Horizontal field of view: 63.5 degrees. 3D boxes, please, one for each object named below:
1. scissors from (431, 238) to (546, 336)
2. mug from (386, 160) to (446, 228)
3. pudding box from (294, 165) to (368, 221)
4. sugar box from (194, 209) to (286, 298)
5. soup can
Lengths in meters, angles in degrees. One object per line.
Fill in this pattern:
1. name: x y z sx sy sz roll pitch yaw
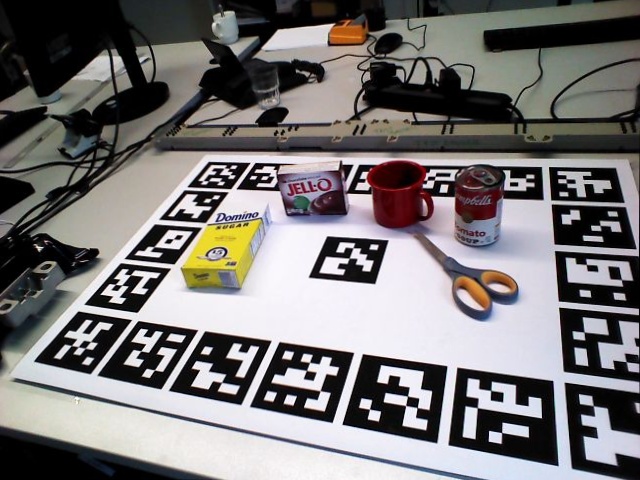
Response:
1. scissors: 0.217 0.048 0.718 0.087 0.016 0.203 -31 42 -7
2. mug: 0.163 -0.067 0.826 0.093 0.081 0.117 -22 38 -7
3. pudding box: 0.020 -0.080 0.871 0.114 0.090 0.038 -3 46 12
4. sugar box: -0.125 0.017 0.840 0.093 0.045 0.175 0 41 19
5. soup can: 0.260 -0.038 0.757 0.068 0.102 0.067 -9 37 6
